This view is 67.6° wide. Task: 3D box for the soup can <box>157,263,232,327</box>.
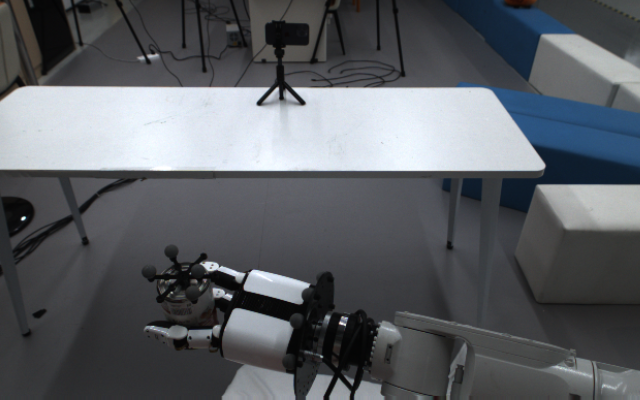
[{"bbox_3d":[-0.170,0.142,0.638,0.067,0.101,0.067,1,38,-1],"label":"soup can"}]
